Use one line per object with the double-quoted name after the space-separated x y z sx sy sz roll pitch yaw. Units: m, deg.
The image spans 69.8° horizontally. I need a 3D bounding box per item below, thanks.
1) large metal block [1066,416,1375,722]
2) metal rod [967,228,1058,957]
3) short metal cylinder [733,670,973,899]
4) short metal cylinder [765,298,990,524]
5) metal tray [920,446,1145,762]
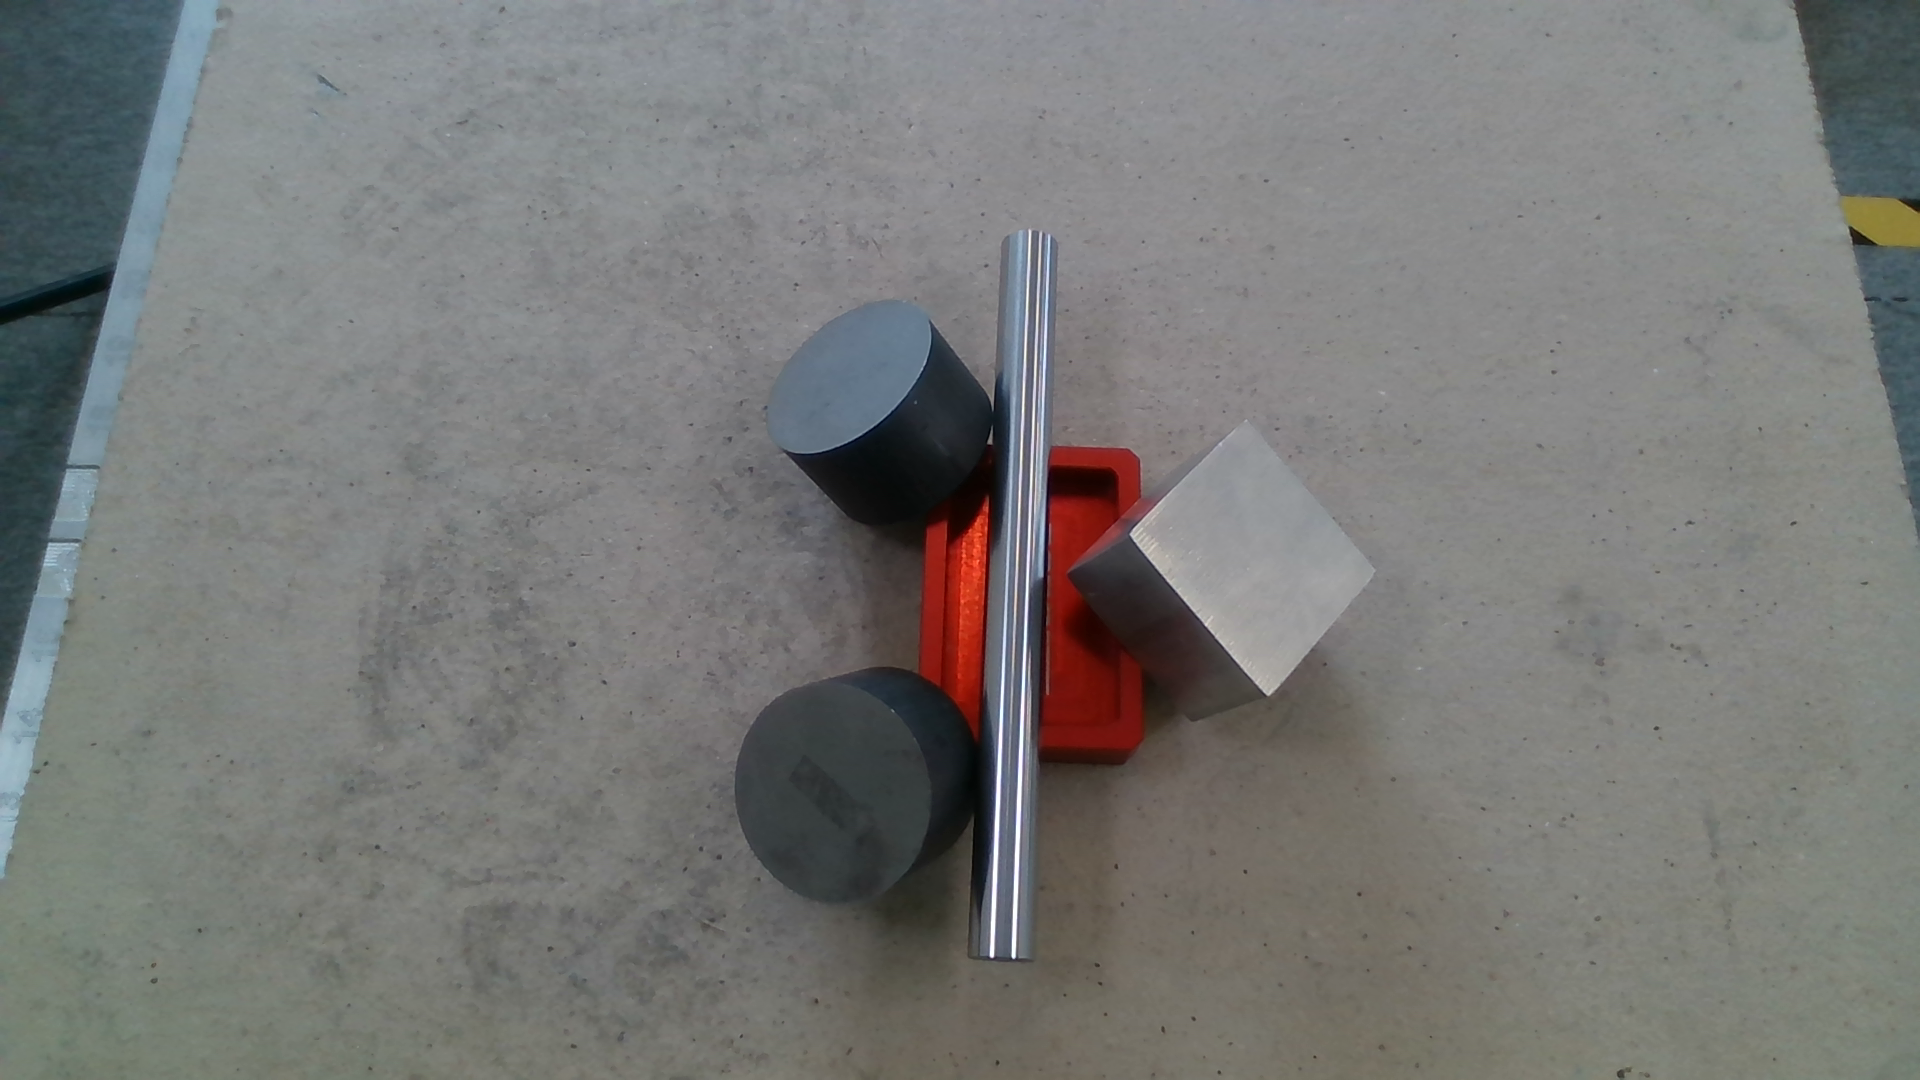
0.103 0.012 0.548 0.080 0.050 0.080 49 60 -2 "large metal block"
0.023 0.011 0.553 0.025 0.025 0.299 3 70 1 "metal rod"
-0.039 0.091 0.526 0.080 0.050 0.080 0 91 21 "short metal cylinder"
-0.034 -0.054 0.575 0.080 0.050 0.080 -20 46 22 "short metal cylinder"
0.030 0.025 0.577 0.090 0.030 0.130 2 70 1 "metal tray"
